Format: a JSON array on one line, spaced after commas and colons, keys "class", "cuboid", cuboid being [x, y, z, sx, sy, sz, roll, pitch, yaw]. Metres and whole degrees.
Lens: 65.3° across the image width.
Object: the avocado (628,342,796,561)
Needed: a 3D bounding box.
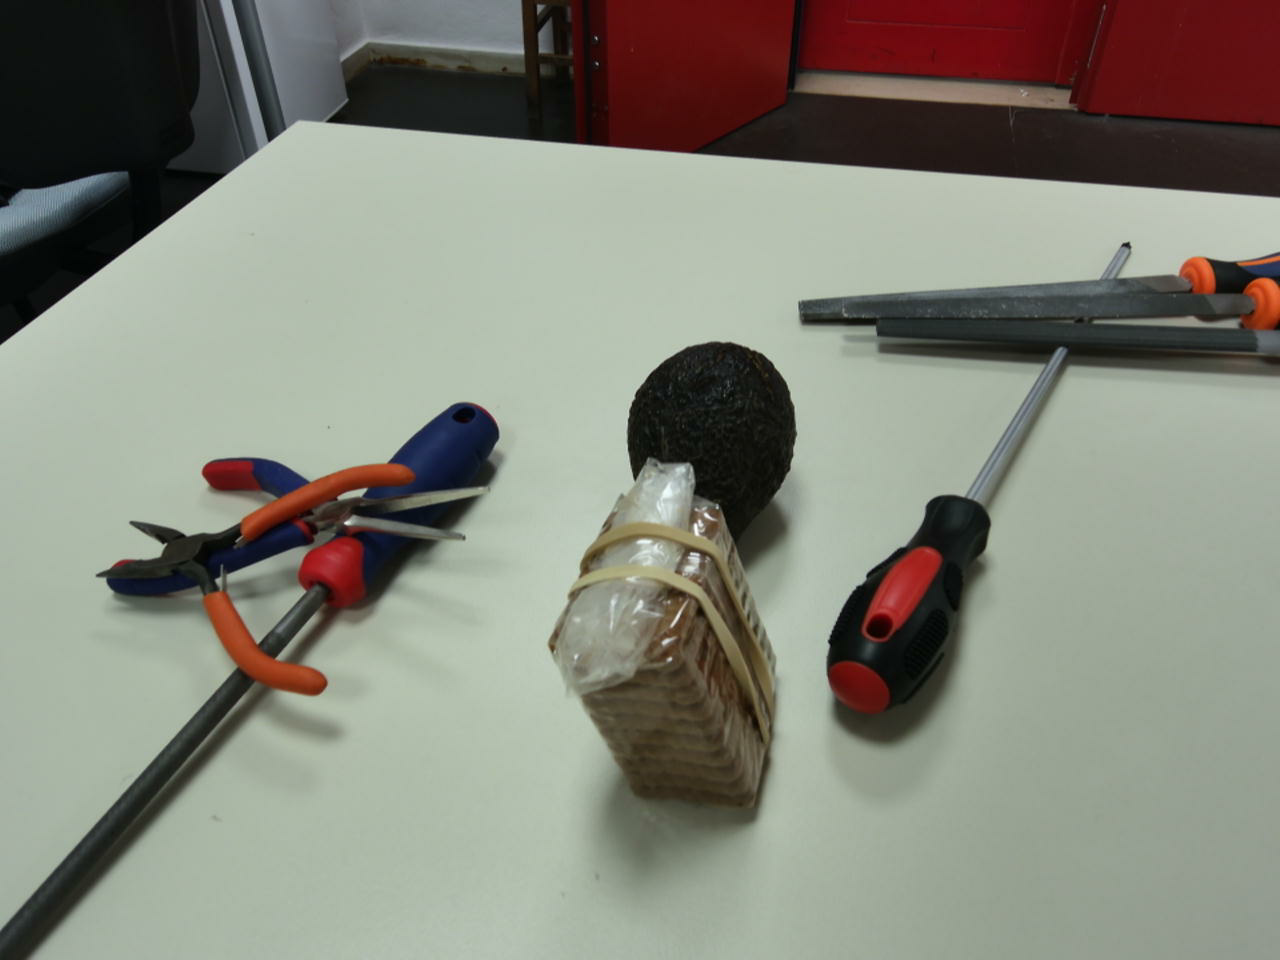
[{"class": "avocado", "cuboid": [0.026, -0.017, 0.410, 0.070, 0.069, 0.090, 26, 45, 30]}]
